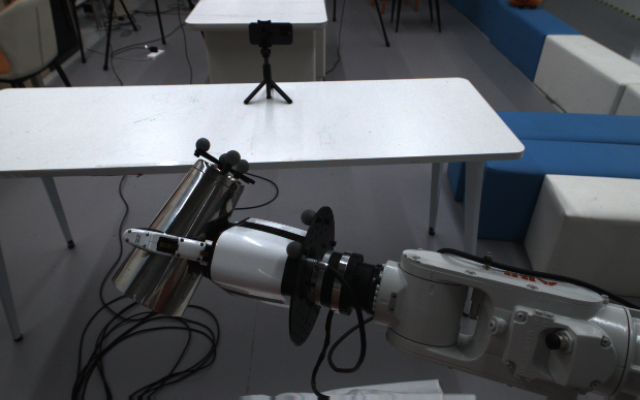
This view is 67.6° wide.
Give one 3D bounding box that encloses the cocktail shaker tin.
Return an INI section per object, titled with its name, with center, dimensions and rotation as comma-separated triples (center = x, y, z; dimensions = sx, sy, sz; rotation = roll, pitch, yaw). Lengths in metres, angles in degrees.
[cocktail shaker tin]
center = -0.162, 0.038, 0.579
dimensions = 0.093, 0.093, 0.170
rotation = 27, 83, 31
